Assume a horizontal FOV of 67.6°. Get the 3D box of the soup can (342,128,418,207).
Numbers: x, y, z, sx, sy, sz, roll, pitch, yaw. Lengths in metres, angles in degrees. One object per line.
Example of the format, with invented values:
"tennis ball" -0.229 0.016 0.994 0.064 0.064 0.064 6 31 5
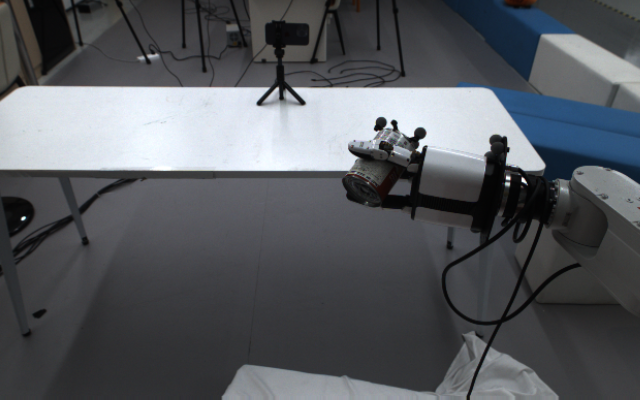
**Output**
"soup can" 0.088 -0.049 0.718 0.067 0.067 0.101 26 66 30
